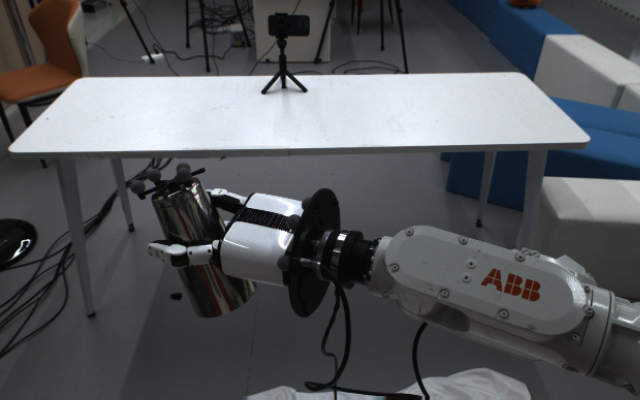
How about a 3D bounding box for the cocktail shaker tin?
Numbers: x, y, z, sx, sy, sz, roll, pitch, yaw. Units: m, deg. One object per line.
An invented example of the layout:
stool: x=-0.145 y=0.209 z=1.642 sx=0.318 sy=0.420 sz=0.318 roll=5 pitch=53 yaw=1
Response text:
cocktail shaker tin: x=-0.157 y=0.061 z=0.643 sx=0.093 sy=0.170 sz=0.093 roll=-17 pitch=20 yaw=7
